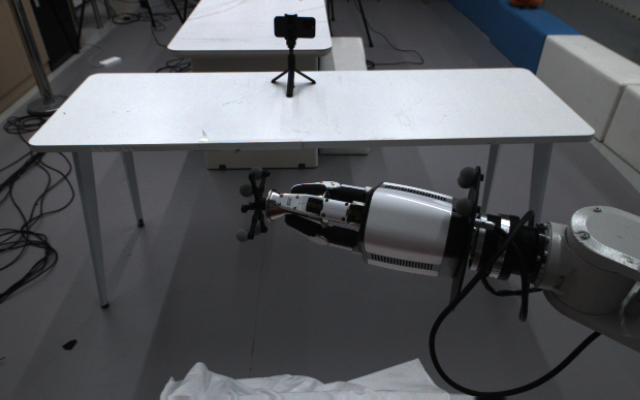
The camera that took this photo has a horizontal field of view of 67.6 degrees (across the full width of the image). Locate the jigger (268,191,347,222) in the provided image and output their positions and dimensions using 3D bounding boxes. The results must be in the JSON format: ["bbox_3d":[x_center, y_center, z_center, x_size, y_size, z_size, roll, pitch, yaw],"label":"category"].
[{"bbox_3d":[-0.018,0.005,0.567,0.071,0.043,0.043,4,34,14],"label":"jigger"}]
